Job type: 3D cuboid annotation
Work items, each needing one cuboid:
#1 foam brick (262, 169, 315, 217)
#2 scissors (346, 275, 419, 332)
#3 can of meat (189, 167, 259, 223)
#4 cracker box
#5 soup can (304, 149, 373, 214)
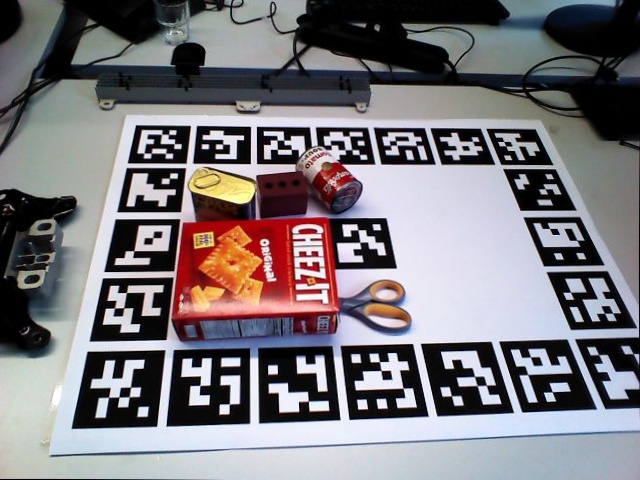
[{"bbox_3d":[-0.051,-0.074,0.836,0.078,0.051,0.052,-9,56,-11],"label":"foam brick"},{"bbox_3d":[0.034,0.095,0.725,0.203,0.016,0.087,-5,55,-7],"label":"scissors"},{"bbox_3d":[-0.143,-0.058,0.795,0.102,0.084,0.057,11,54,3],"label":"can of meat"},{"bbox_3d":[-0.082,0.050,0.712,0.214,0.072,0.163,-7,54,-4],"label":"cracker box"},{"bbox_3d":[0.029,-0.098,0.858,0.067,0.068,0.102,-34,58,-25],"label":"soup can"}]
